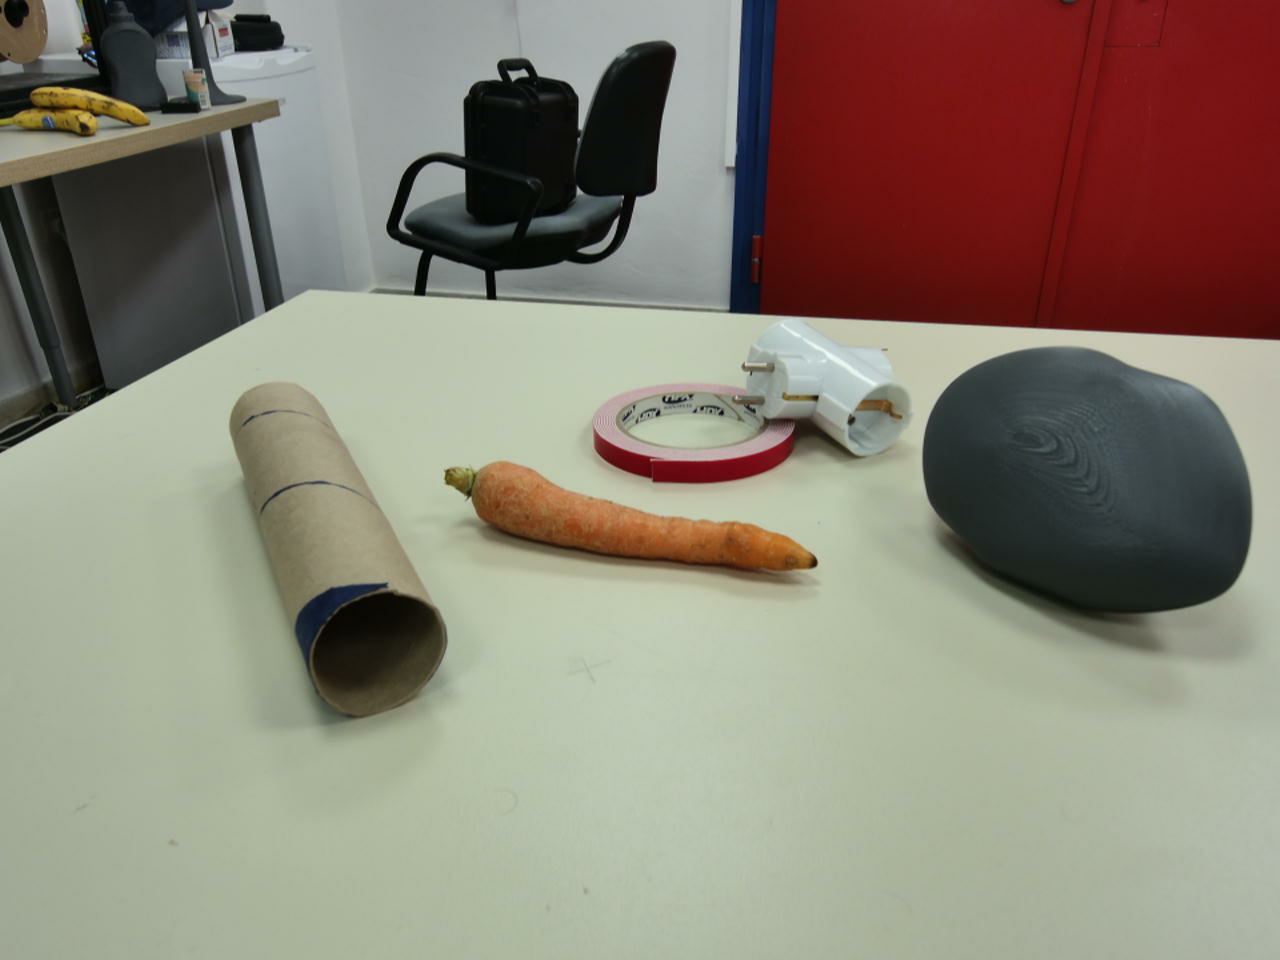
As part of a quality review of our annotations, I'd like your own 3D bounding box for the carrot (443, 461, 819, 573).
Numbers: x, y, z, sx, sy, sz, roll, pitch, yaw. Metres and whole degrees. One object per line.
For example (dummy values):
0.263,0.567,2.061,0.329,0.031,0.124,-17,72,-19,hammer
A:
-0.007,0.017,0.429,0.173,0.032,0.030,10,26,21,carrot
